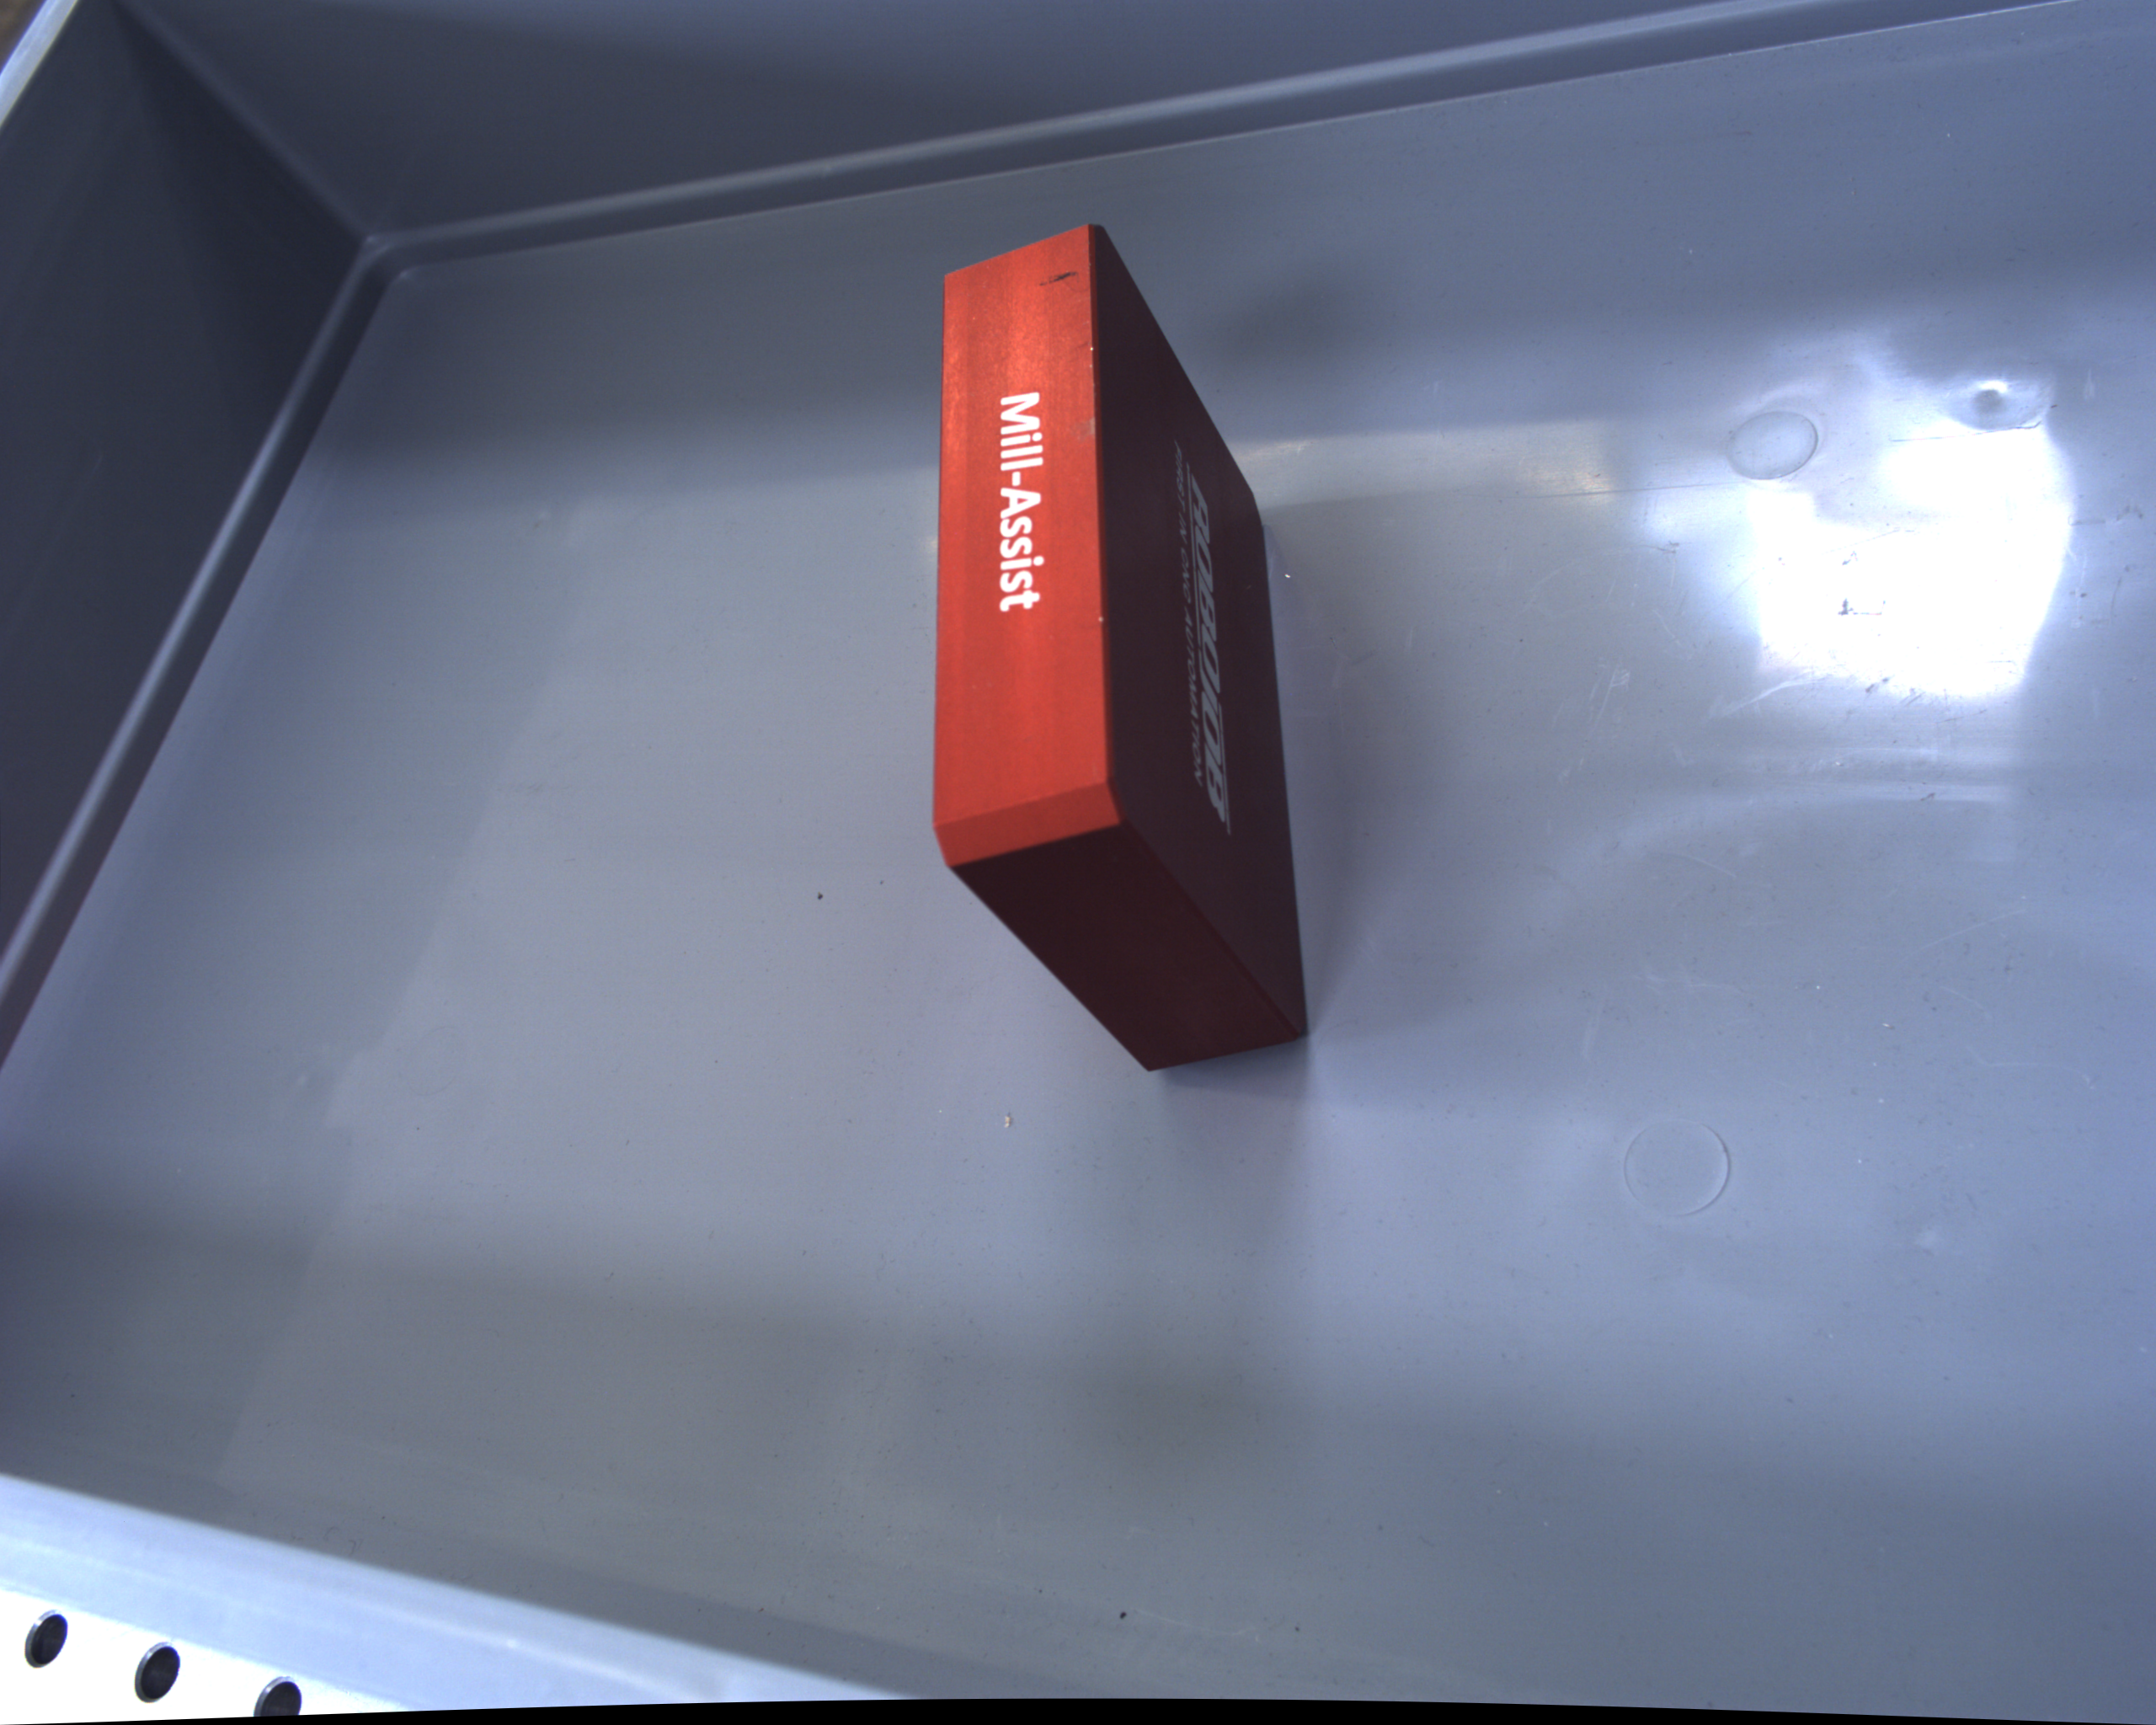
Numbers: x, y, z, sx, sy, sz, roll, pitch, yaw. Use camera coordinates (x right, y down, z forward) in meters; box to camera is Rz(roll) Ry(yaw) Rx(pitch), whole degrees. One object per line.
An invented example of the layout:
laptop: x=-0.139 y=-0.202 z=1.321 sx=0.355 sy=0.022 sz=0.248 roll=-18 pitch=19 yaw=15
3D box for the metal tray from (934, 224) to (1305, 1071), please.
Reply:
metal tray: x=0.008 y=-0.039 z=0.381 sx=0.030 sy=0.090 sz=0.130 roll=-14 pitch=56 yaw=19
